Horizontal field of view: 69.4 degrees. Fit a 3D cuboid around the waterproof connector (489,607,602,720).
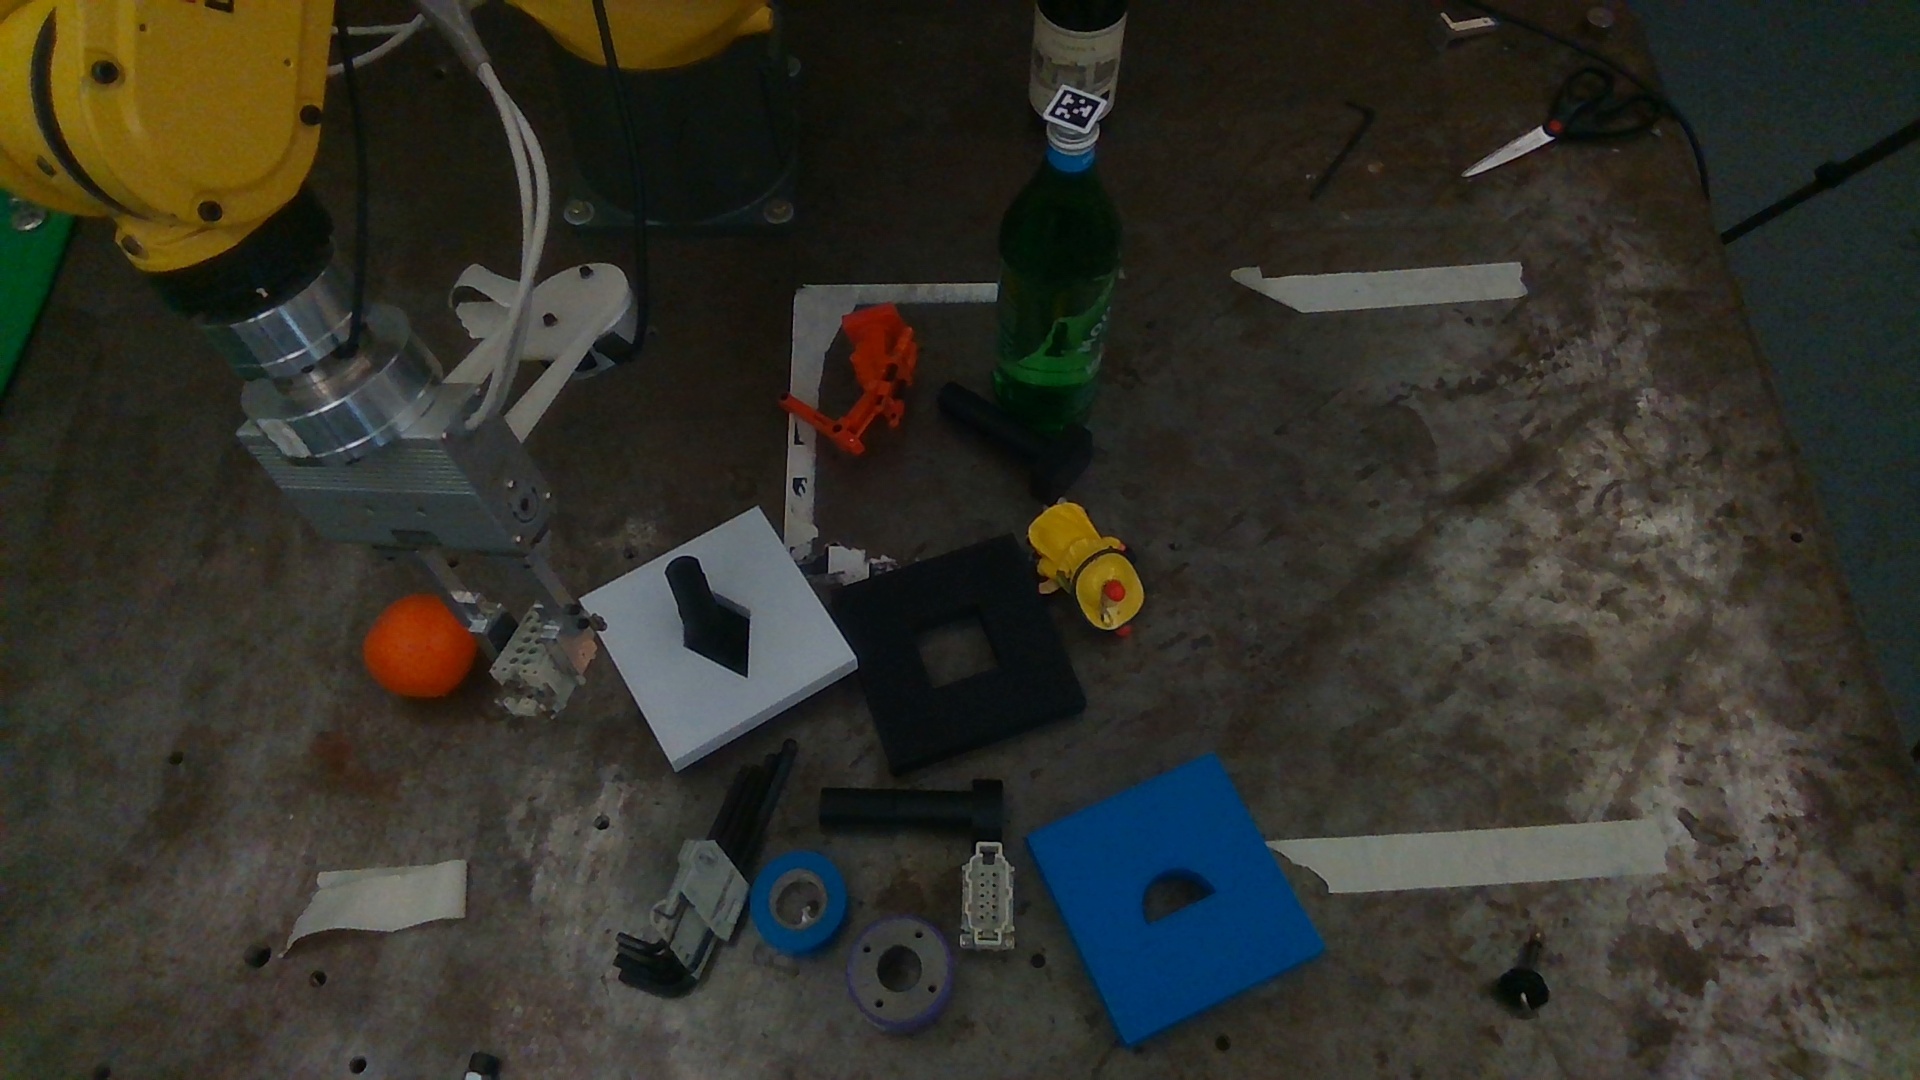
[{"bbox_3d":[-0.225,0.067,0.759,0.037,0.038,0.069,2,47,27],"label":"waterproof connector"}]
